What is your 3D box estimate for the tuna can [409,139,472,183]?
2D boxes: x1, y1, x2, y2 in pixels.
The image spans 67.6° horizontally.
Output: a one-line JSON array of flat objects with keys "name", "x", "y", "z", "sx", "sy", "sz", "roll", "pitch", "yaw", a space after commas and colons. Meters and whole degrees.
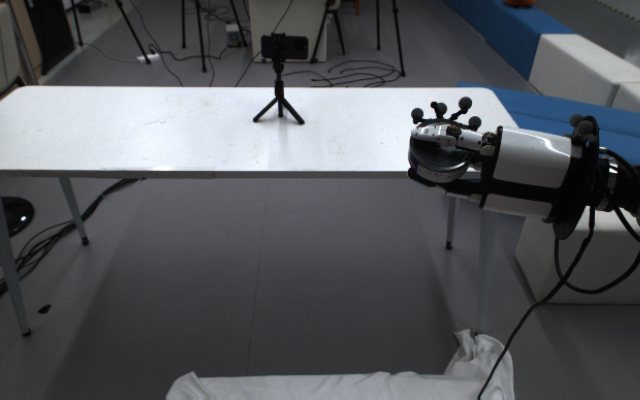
[{"name": "tuna can", "x": 0.163, "y": -0.072, "z": 0.652, "sx": 0.085, "sy": 0.034, "sz": 0.085, "roll": -2, "pitch": 57, "yaw": 3}]
